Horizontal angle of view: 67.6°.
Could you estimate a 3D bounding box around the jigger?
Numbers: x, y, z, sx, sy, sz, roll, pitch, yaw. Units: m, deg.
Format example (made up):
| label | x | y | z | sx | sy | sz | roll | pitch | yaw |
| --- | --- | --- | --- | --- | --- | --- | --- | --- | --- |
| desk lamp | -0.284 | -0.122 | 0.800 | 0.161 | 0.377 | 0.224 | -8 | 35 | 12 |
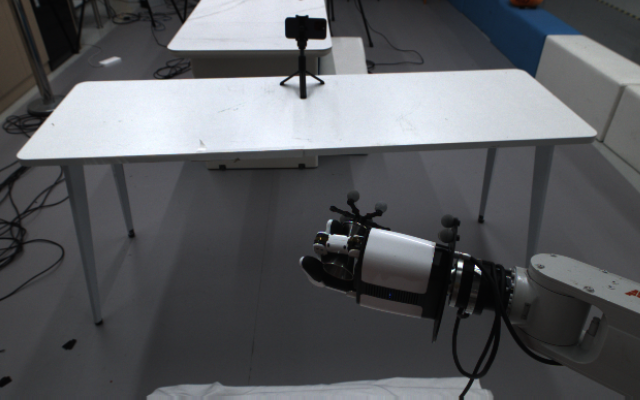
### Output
| label | x | y | z | sx | sy | sz | roll | pitch | yaw |
| --- | --- | --- | --- | --- | --- | --- | --- | --- | --- |
| jigger | 0.037 | 0.064 | 0.642 | 0.043 | 0.043 | 0.071 | 15 | 58 | 18 |
